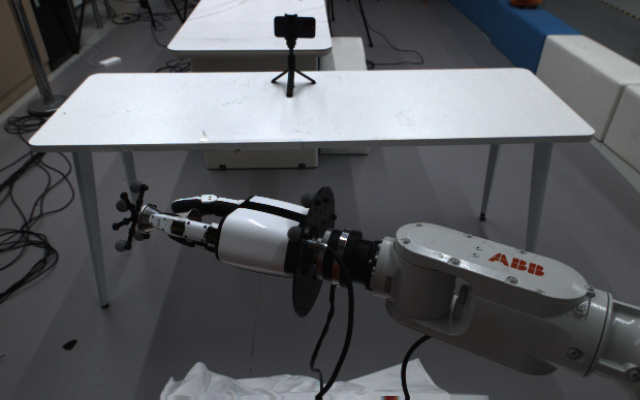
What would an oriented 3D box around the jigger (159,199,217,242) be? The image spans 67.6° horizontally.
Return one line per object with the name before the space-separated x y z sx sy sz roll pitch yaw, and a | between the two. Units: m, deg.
jigger | -0.189 0.026 0.629 0.071 0.043 0.043 7 35 14
